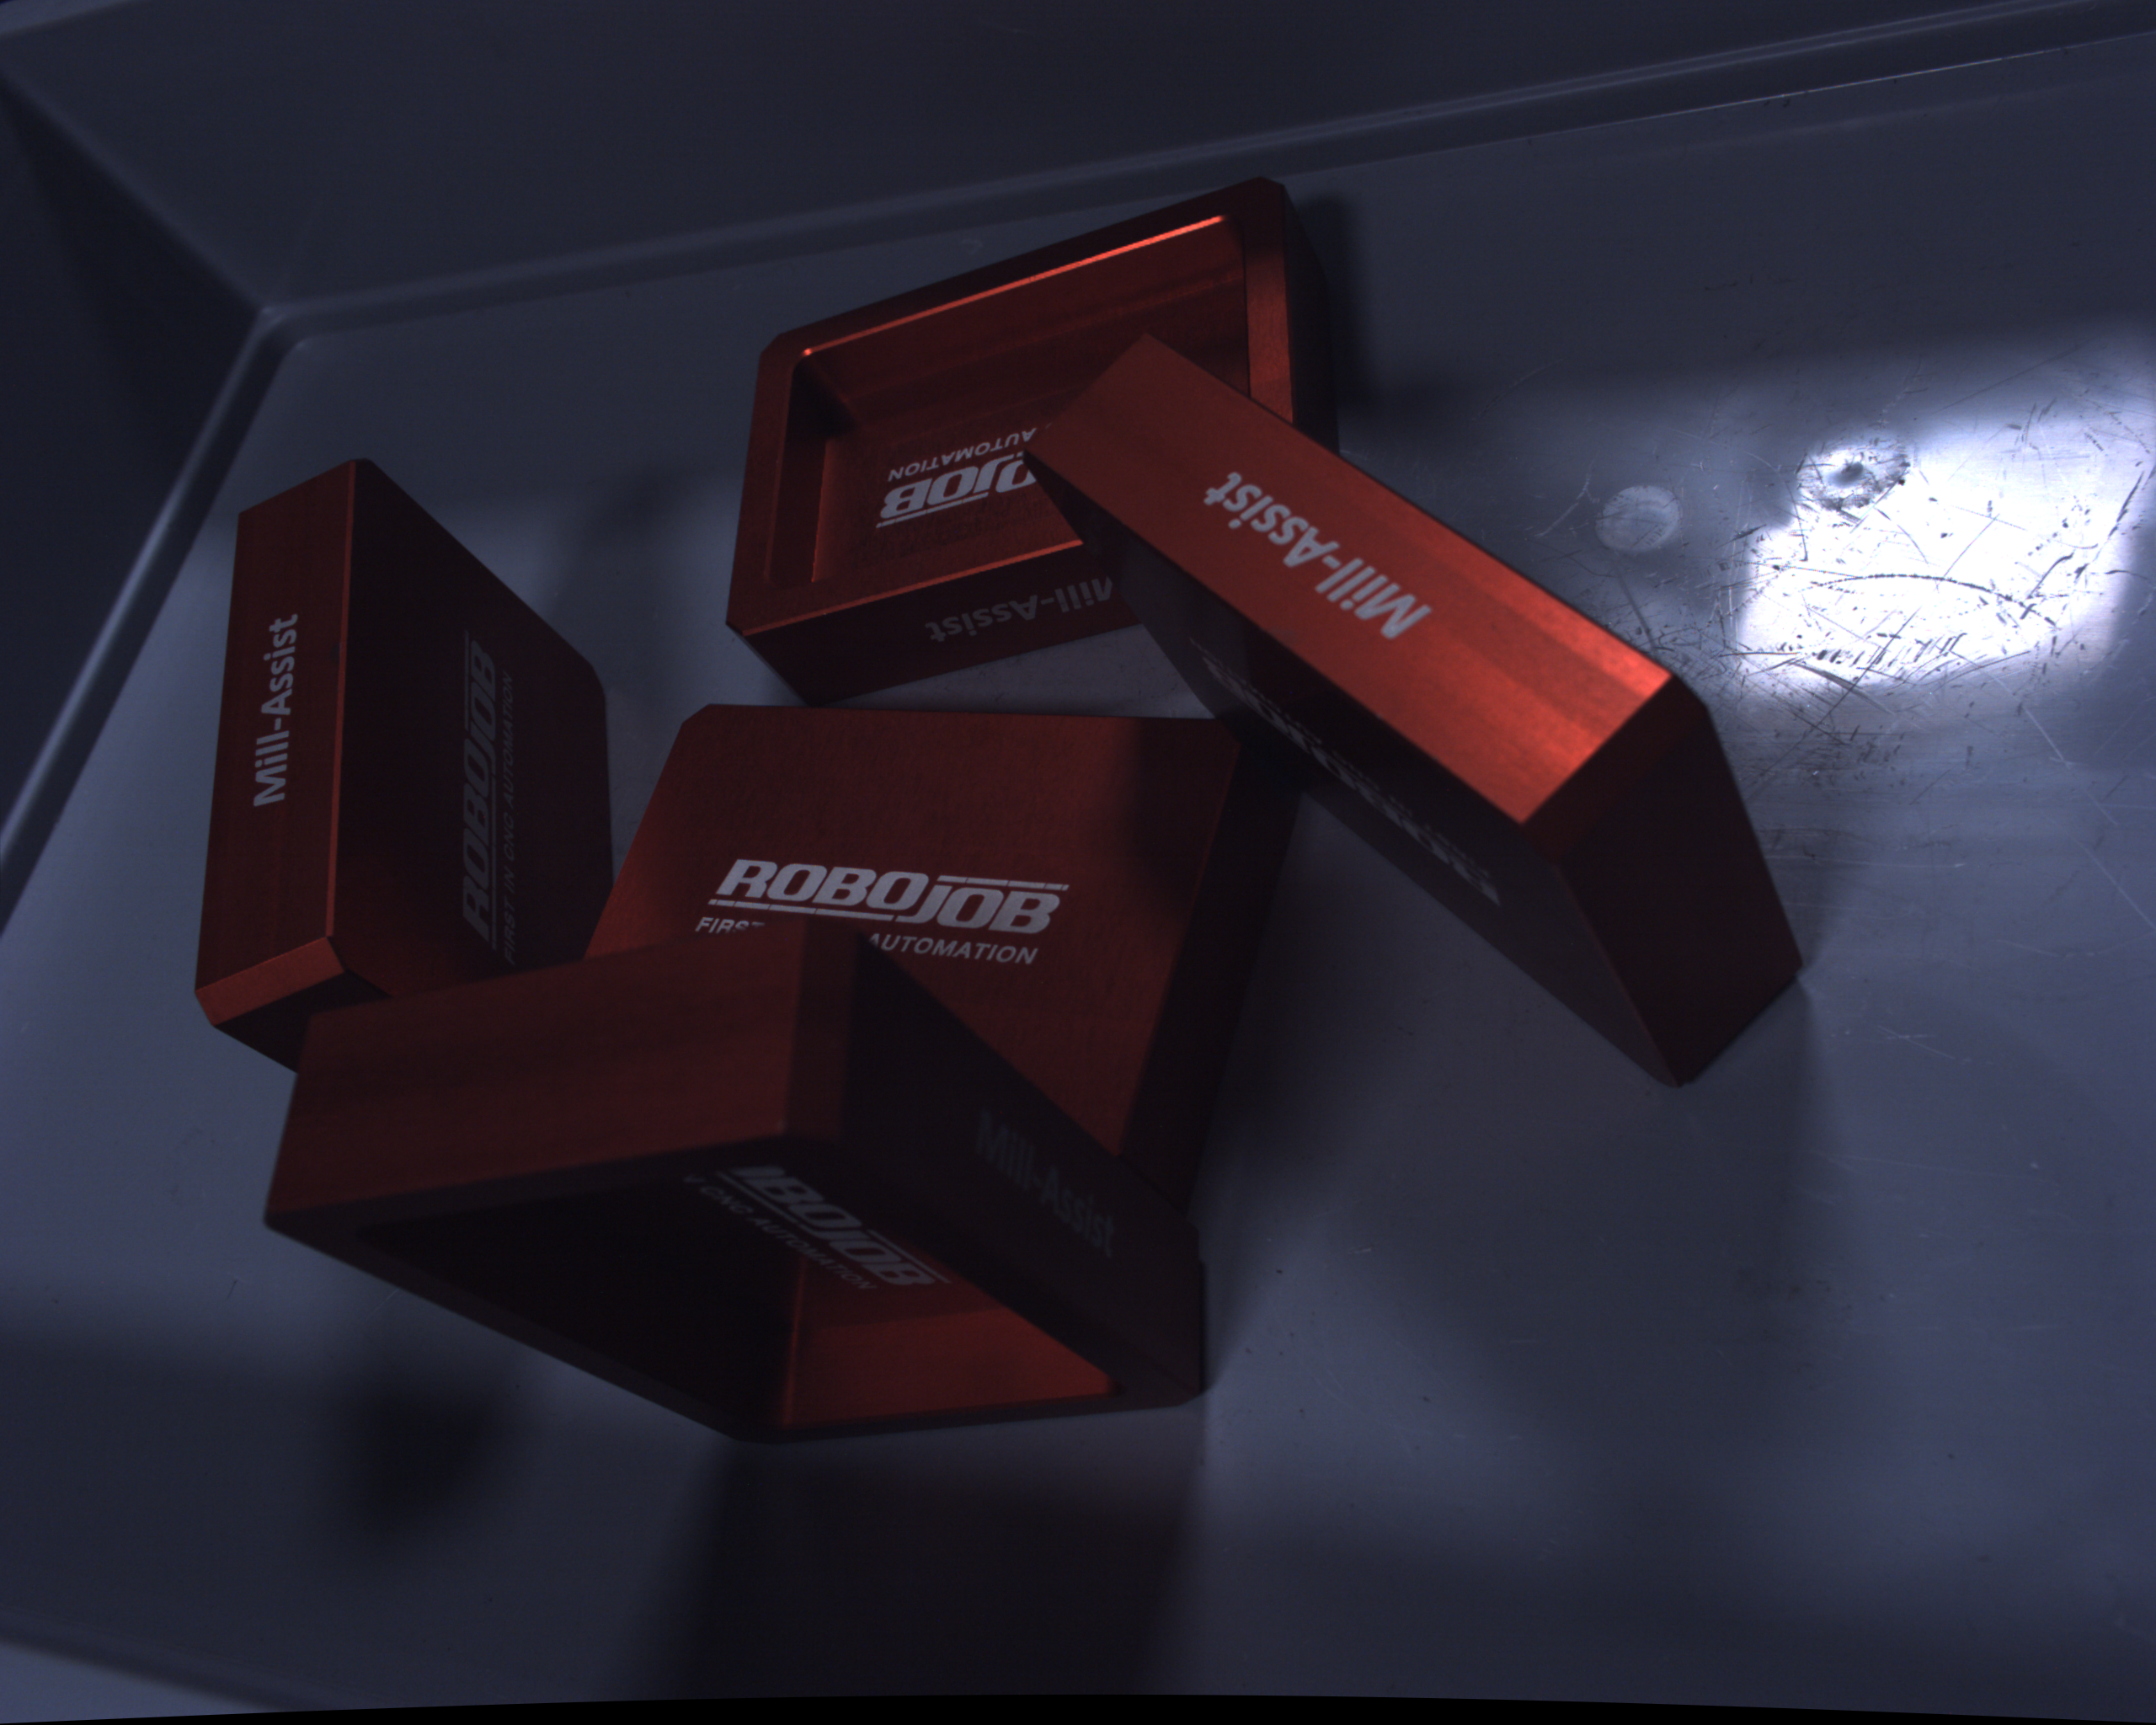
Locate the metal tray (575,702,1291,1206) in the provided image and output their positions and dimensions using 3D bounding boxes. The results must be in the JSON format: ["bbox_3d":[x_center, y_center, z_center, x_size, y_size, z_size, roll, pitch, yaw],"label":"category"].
[{"bbox_3d":[-0.033,0.015,0.405,0.130,0.030,0.090,4,63,29],"label":"metal tray"}]

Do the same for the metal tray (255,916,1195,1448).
[{"bbox_3d":[-0.046,0.057,0.323,0.090,0.130,0.030,-12,58,21],"label":"metal tray"}]

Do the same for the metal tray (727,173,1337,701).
[{"bbox_3d":[-0.010,-0.092,0.461,0.130,0.030,0.090,-12,57,21],"label":"metal tray"}]

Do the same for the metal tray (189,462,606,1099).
[{"bbox_3d":[-0.137,-0.009,0.436,0.030,0.090,0.130,-22,54,14],"label":"metal tray"}]

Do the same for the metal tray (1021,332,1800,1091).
[{"bbox_3d":[0.054,-0.026,0.348,0.030,0.090,0.130,-45,51,-2],"label":"metal tray"}]
